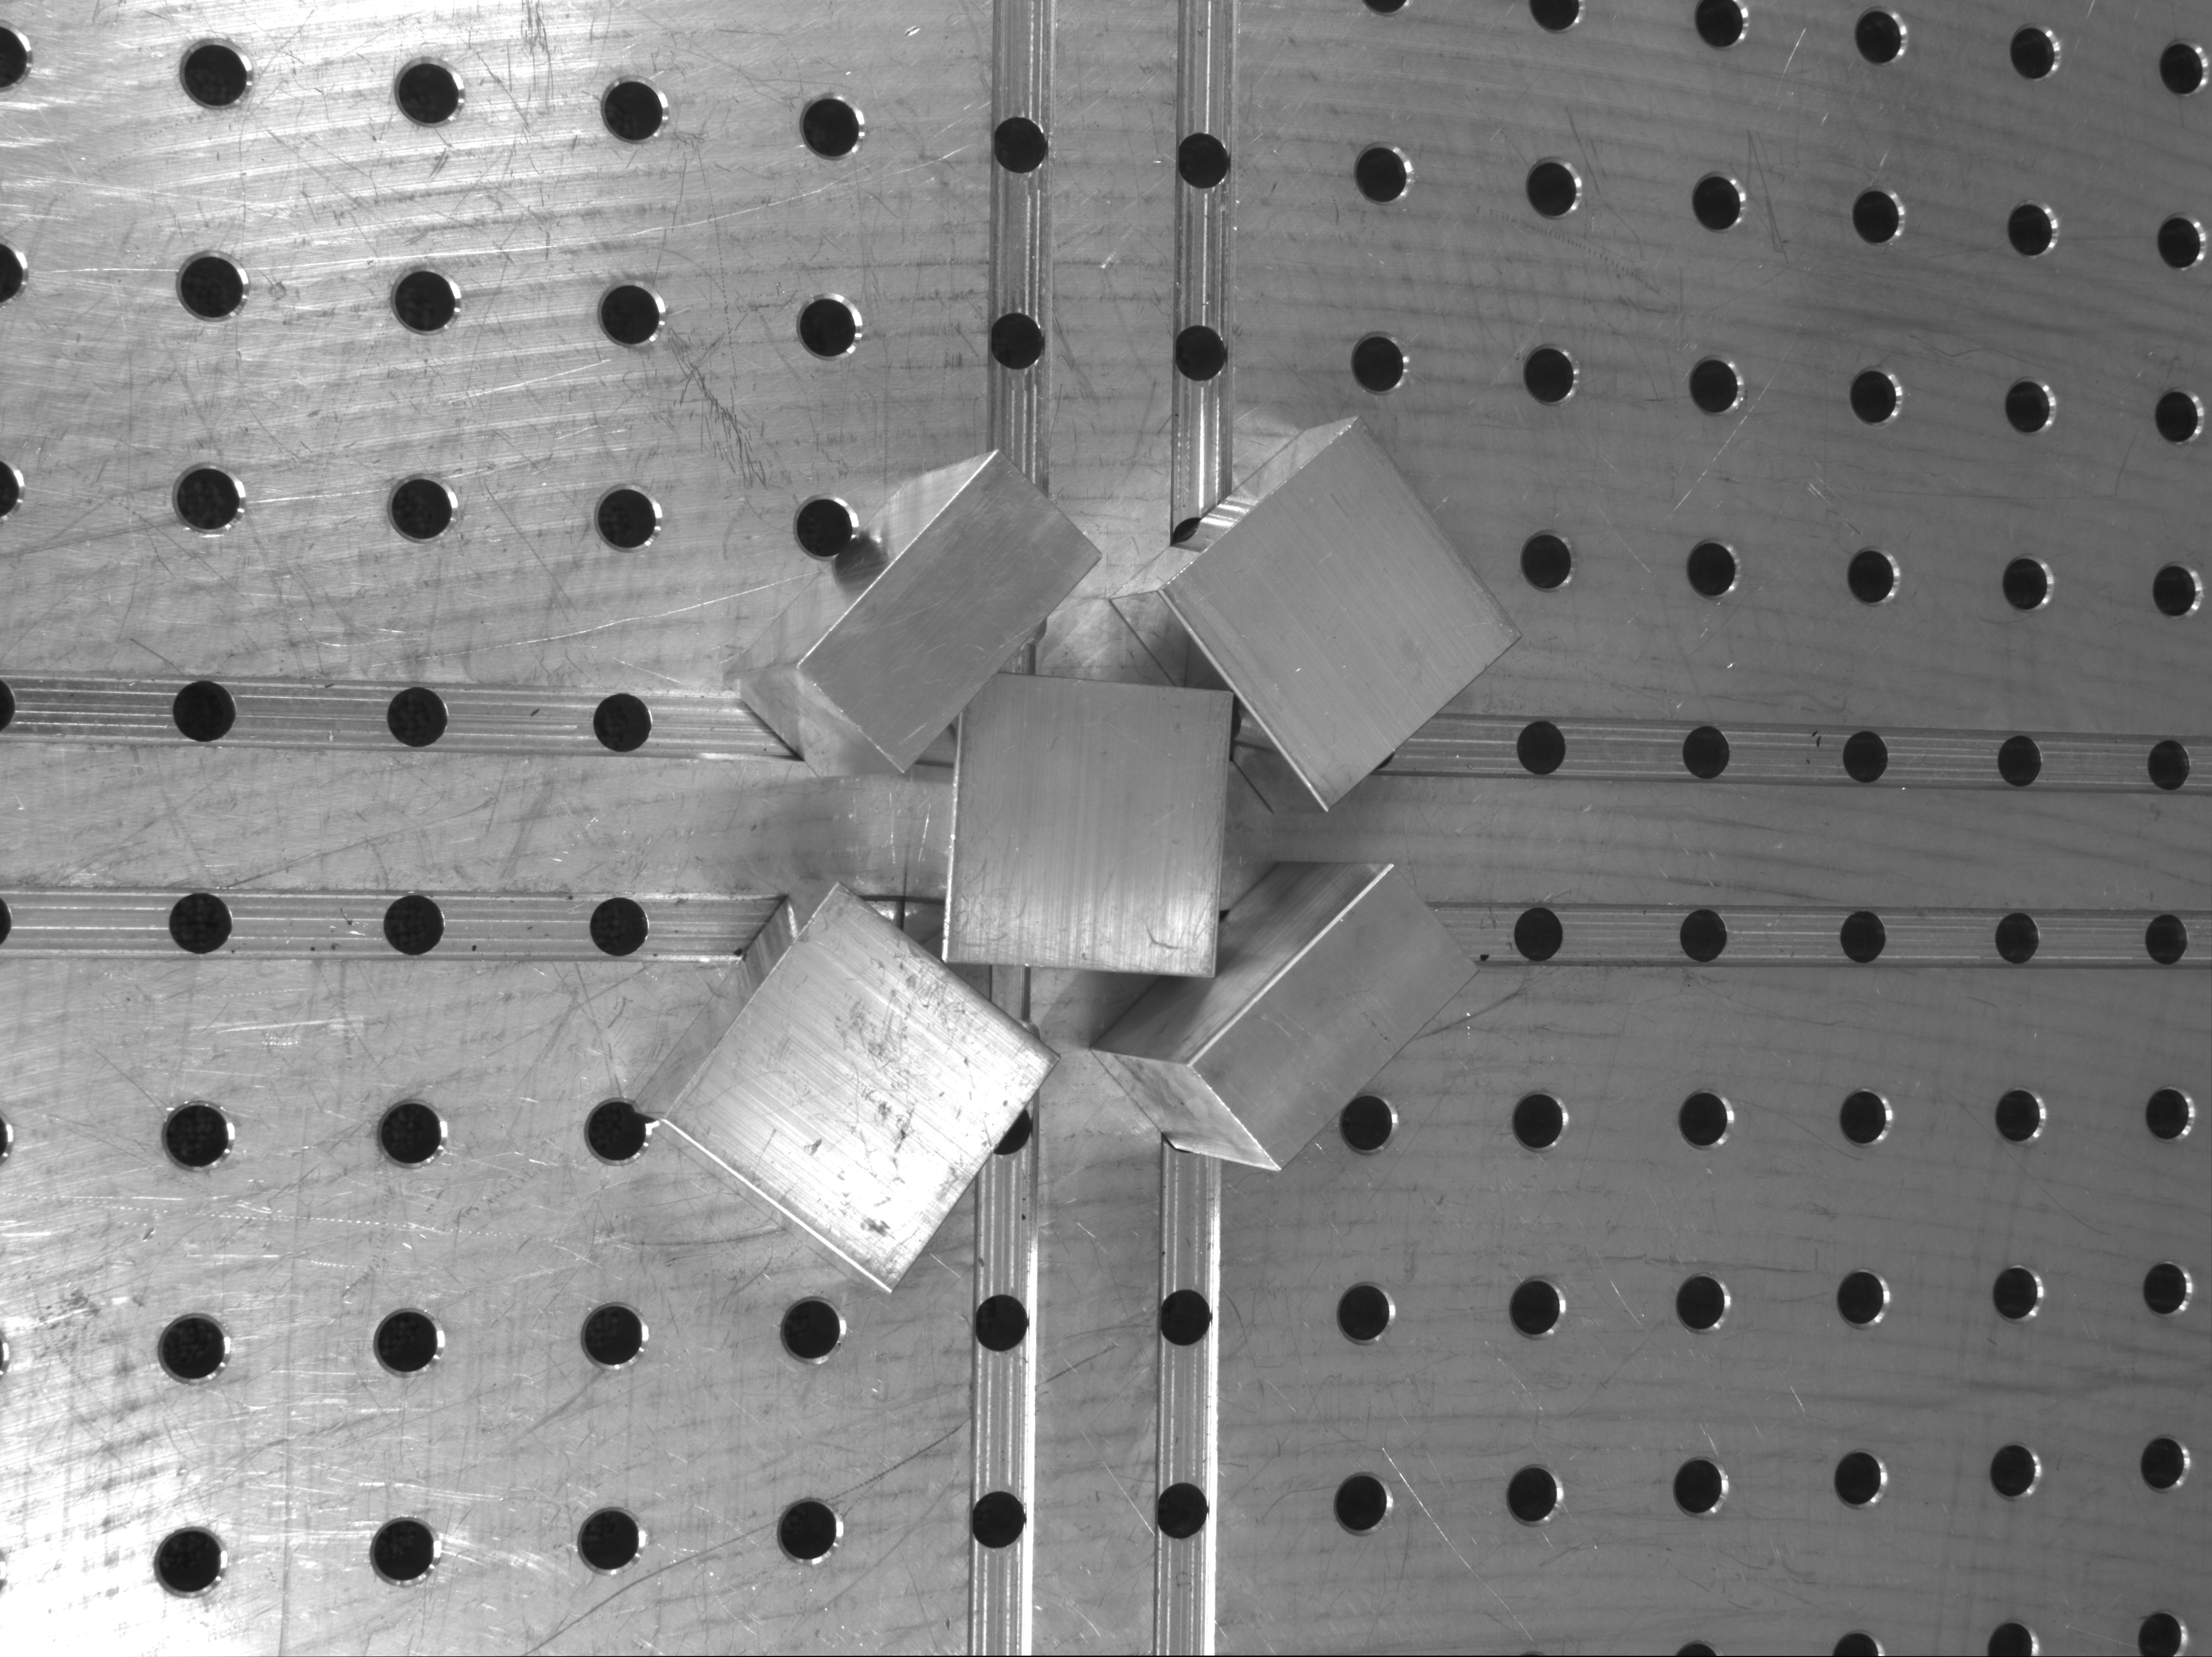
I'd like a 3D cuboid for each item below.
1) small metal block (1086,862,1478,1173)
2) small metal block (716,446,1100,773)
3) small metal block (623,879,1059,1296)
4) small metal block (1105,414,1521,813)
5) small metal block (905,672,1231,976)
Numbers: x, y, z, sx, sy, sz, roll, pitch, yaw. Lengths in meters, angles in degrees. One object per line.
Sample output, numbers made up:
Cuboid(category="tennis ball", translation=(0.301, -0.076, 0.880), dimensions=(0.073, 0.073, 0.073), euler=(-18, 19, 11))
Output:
Cuboid(category="small metal block", translation=(0.030, 0.032, 0.643), dimensions=(0.050, 0.050, 0.025), euler=(-44, 103, -15))
Cuboid(category="small metal block", translation=(-0.034, -0.036, 0.620), dimensions=(0.025, 0.050, 0.050), euler=(46, 77, -15))
Cuboid(category="small metal block", translation=(-0.045, 0.044, 0.629), dimensions=(0.050, 0.025, 0.050), euler=(40, 77, -16))
Cuboid(category="small metal block", translation=(0.037, -0.038, 0.659), dimensions=(0.050, 0.025, 0.050), euler=(-41, 103, -15))
Cuboid(category="small metal block", translation=(-0.007, -0.001, 0.643), dimensions=(0.050, 0.025, 0.050), euler=(4, 87, -18))
